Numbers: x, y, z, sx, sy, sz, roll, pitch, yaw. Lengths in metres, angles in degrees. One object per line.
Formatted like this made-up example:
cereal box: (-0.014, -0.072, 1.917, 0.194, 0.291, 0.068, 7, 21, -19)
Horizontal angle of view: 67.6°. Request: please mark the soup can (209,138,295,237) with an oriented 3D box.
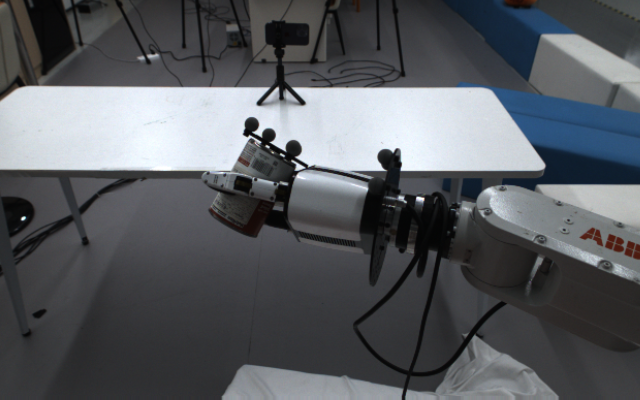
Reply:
soup can: (-0.081, -0.014, 0.588, 0.067, 0.101, 0.067, 30, 2, -1)
